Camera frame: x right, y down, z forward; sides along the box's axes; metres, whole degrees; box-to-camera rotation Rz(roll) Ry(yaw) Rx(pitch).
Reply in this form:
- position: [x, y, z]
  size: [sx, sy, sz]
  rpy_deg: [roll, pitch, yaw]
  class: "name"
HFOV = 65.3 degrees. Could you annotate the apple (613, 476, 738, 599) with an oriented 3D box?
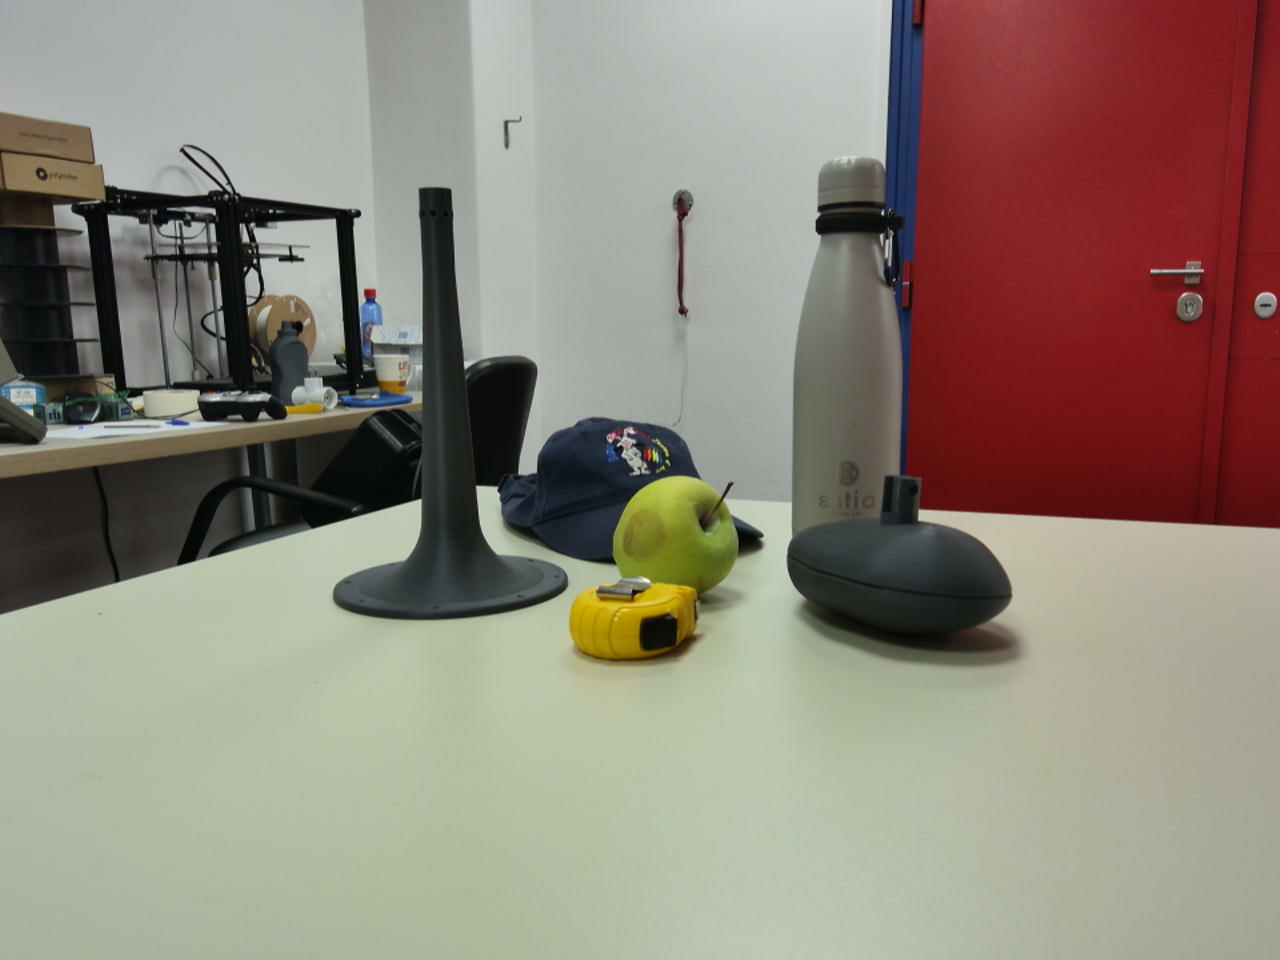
- position: [0.023, 0.034, 0.621]
  size: [0.072, 0.075, 0.077]
  rpy_deg: [-4, 8, -23]
  class: "apple"
